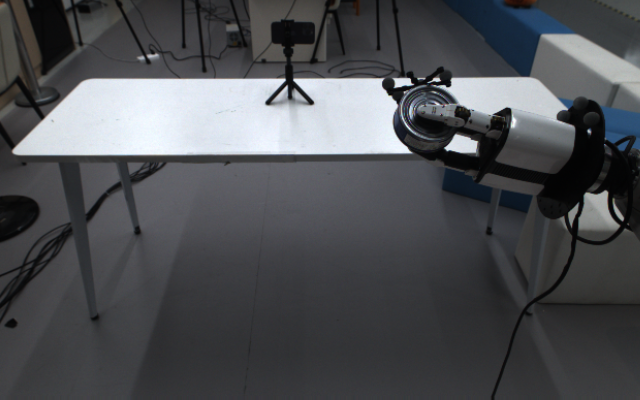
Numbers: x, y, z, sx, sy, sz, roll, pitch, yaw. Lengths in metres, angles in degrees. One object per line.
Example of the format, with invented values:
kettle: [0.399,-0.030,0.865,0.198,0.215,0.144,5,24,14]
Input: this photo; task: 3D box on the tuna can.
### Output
tuna can: [0.143,-0.111,0.640,0.085,0.034,0.085,0,72,-2]
